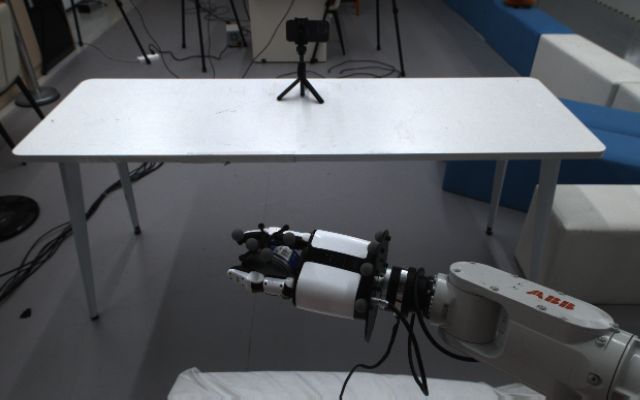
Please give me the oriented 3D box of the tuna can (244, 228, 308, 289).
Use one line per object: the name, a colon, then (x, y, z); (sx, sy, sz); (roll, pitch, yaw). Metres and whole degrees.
tuna can: (-0.067, 0.099, 0.706); (0.085, 0.085, 0.034); (11, 38, 13)
